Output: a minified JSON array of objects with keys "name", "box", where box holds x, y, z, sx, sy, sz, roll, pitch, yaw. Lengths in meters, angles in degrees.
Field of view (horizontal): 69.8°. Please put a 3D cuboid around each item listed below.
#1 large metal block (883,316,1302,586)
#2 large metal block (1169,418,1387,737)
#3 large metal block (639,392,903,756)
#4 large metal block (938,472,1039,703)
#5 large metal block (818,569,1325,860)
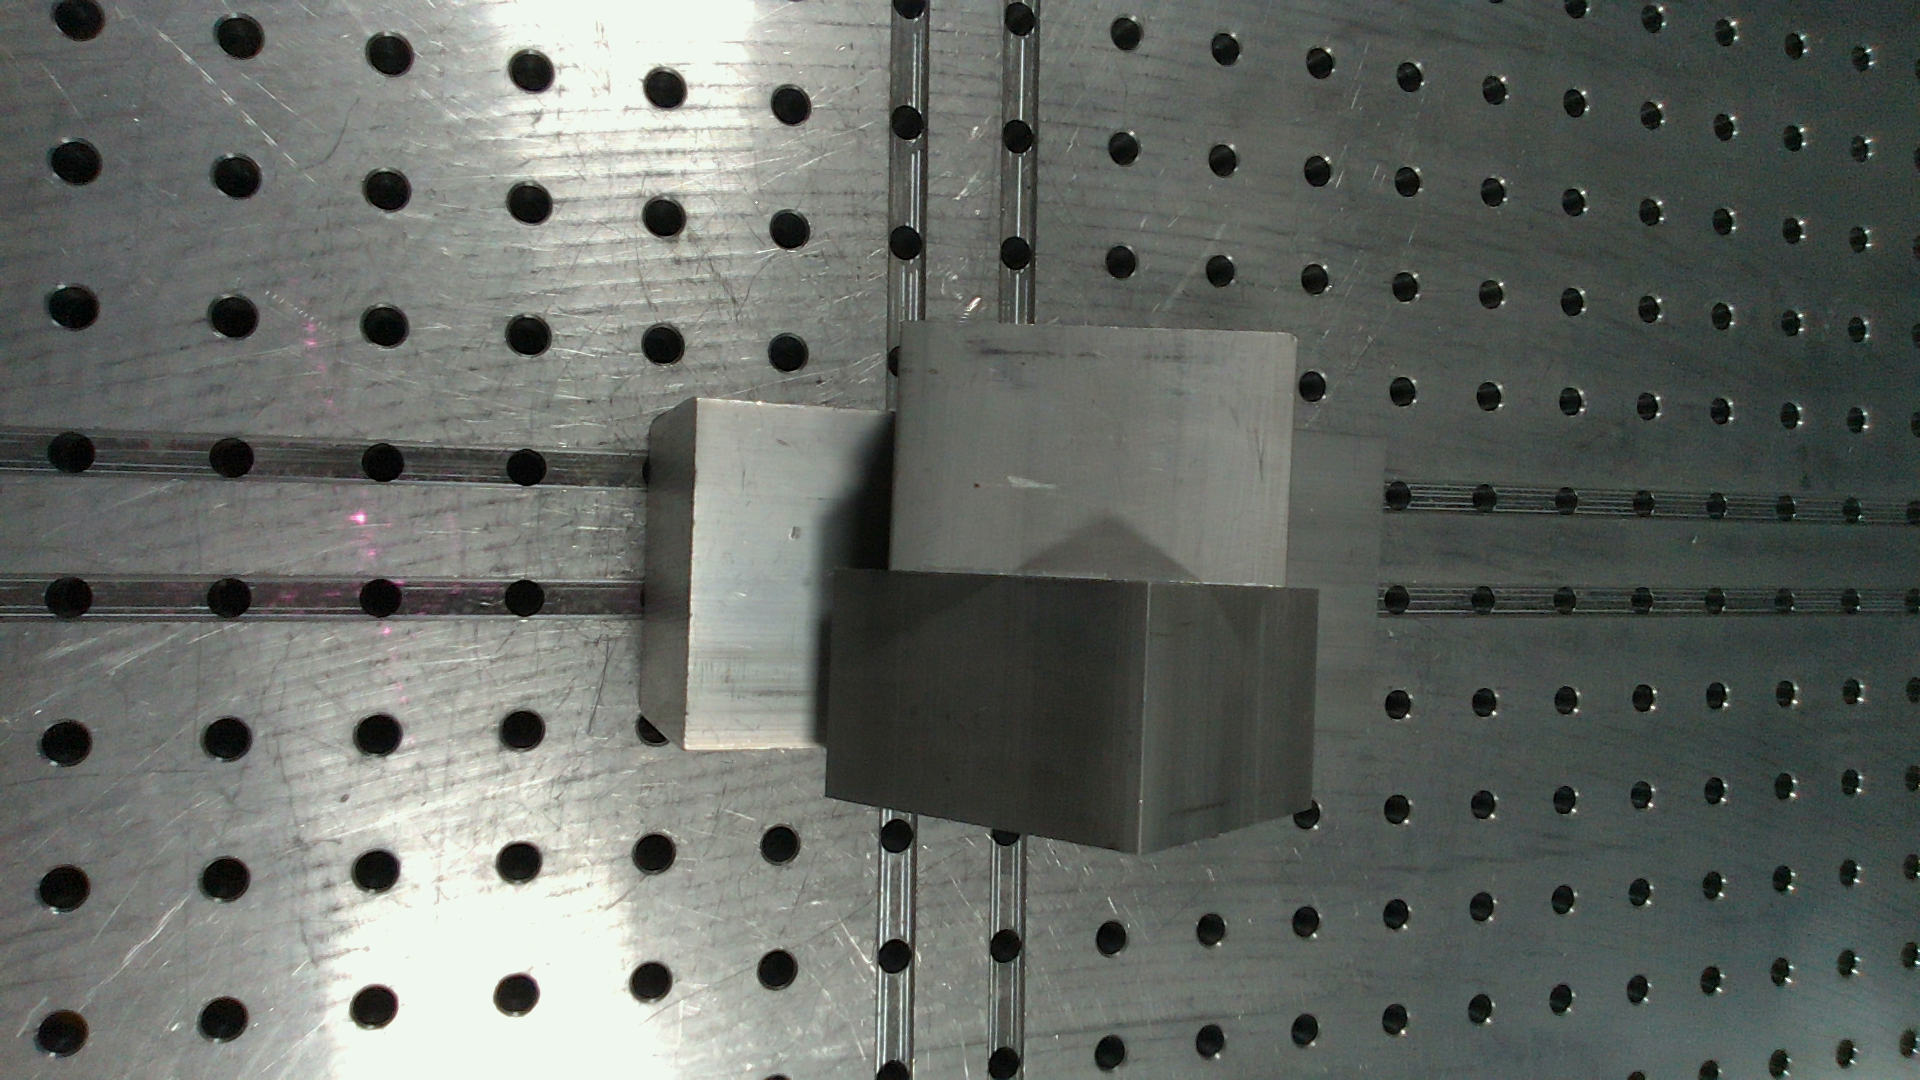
[{"name":"large metal block","box":[0.028,-0.017,0.309,0.080,0.080,0.050,2,89,3]},{"name":"large metal block","box":[0.074,0.010,0.393,0.050,0.080,0.080,4,89,-20]},{"name":"large metal block","box":[-0.050,0.008,0.349,0.050,0.080,0.080,2,89,-20]},{"name":"large metal block","box":[0.009,0.008,0.384,0.080,0.050,0.080,3,89,-20]},{"name":"large metal block","box":[0.026,0.034,0.306,0.080,0.080,0.050,4,88,-53]}]
